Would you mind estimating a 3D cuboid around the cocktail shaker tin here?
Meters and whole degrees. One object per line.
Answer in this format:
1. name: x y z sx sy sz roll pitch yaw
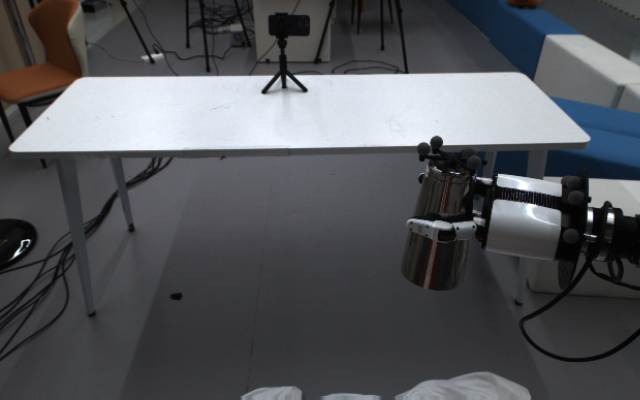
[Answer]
1. cocktail shaker tin: 0.171 0.029 0.679 0.093 0.170 0.093 3 26 -1
